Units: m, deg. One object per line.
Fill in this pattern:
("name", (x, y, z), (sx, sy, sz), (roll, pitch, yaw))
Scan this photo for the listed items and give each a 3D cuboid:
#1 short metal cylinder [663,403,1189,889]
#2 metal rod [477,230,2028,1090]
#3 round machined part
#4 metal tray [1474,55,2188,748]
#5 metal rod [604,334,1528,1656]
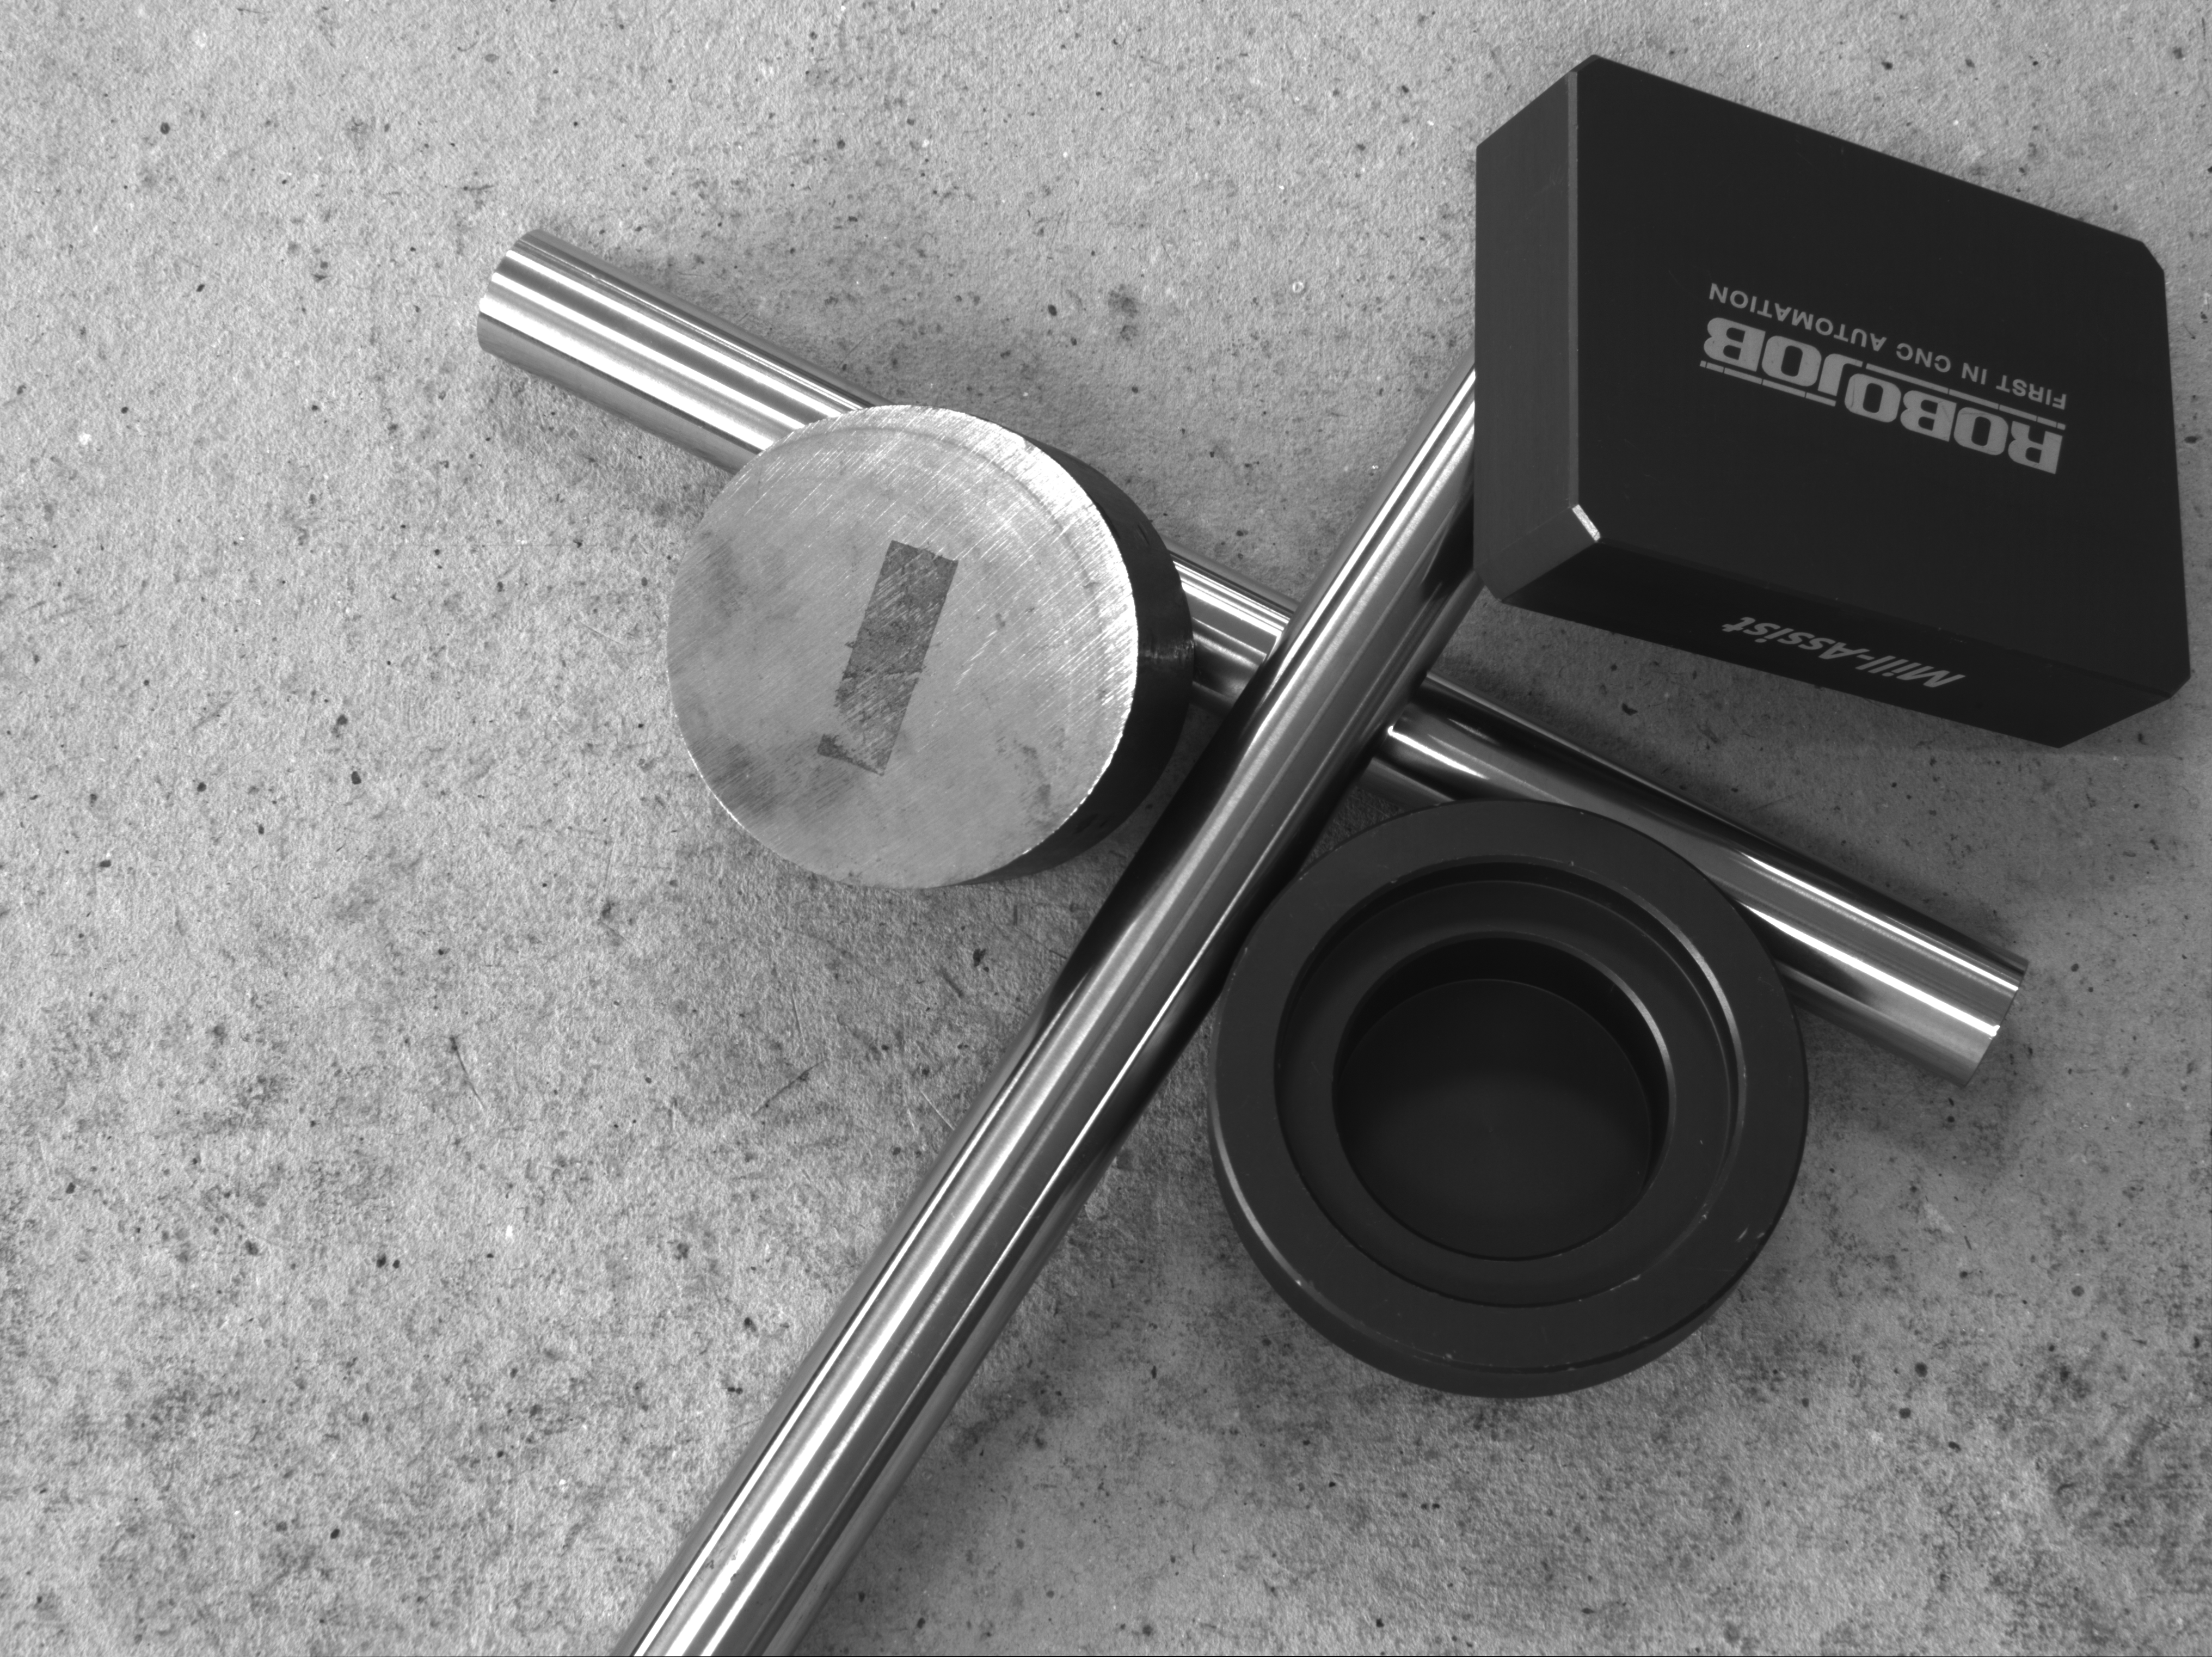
("short metal cylinder", (-0.030, -0.030, 0.630), (0.080, 0.050, 0.080), (0, 90, 12))
("metal rod", (0.022, -0.033, 0.659), (0.300, 0.025, 0.025), (27, 72, 9))
("round machined part", (0.066, 0.048, 0.619), (0.098, 0.042, 0.098), (0, 70, 0))
("metal tray", (0.127, -0.072, 0.639), (0.130, 0.030, 0.090), (12, 68, -25))
("metal rod", (0.008, 0.022, 0.619), (0.025, 0.025, 0.300), (31, 80, 11))
